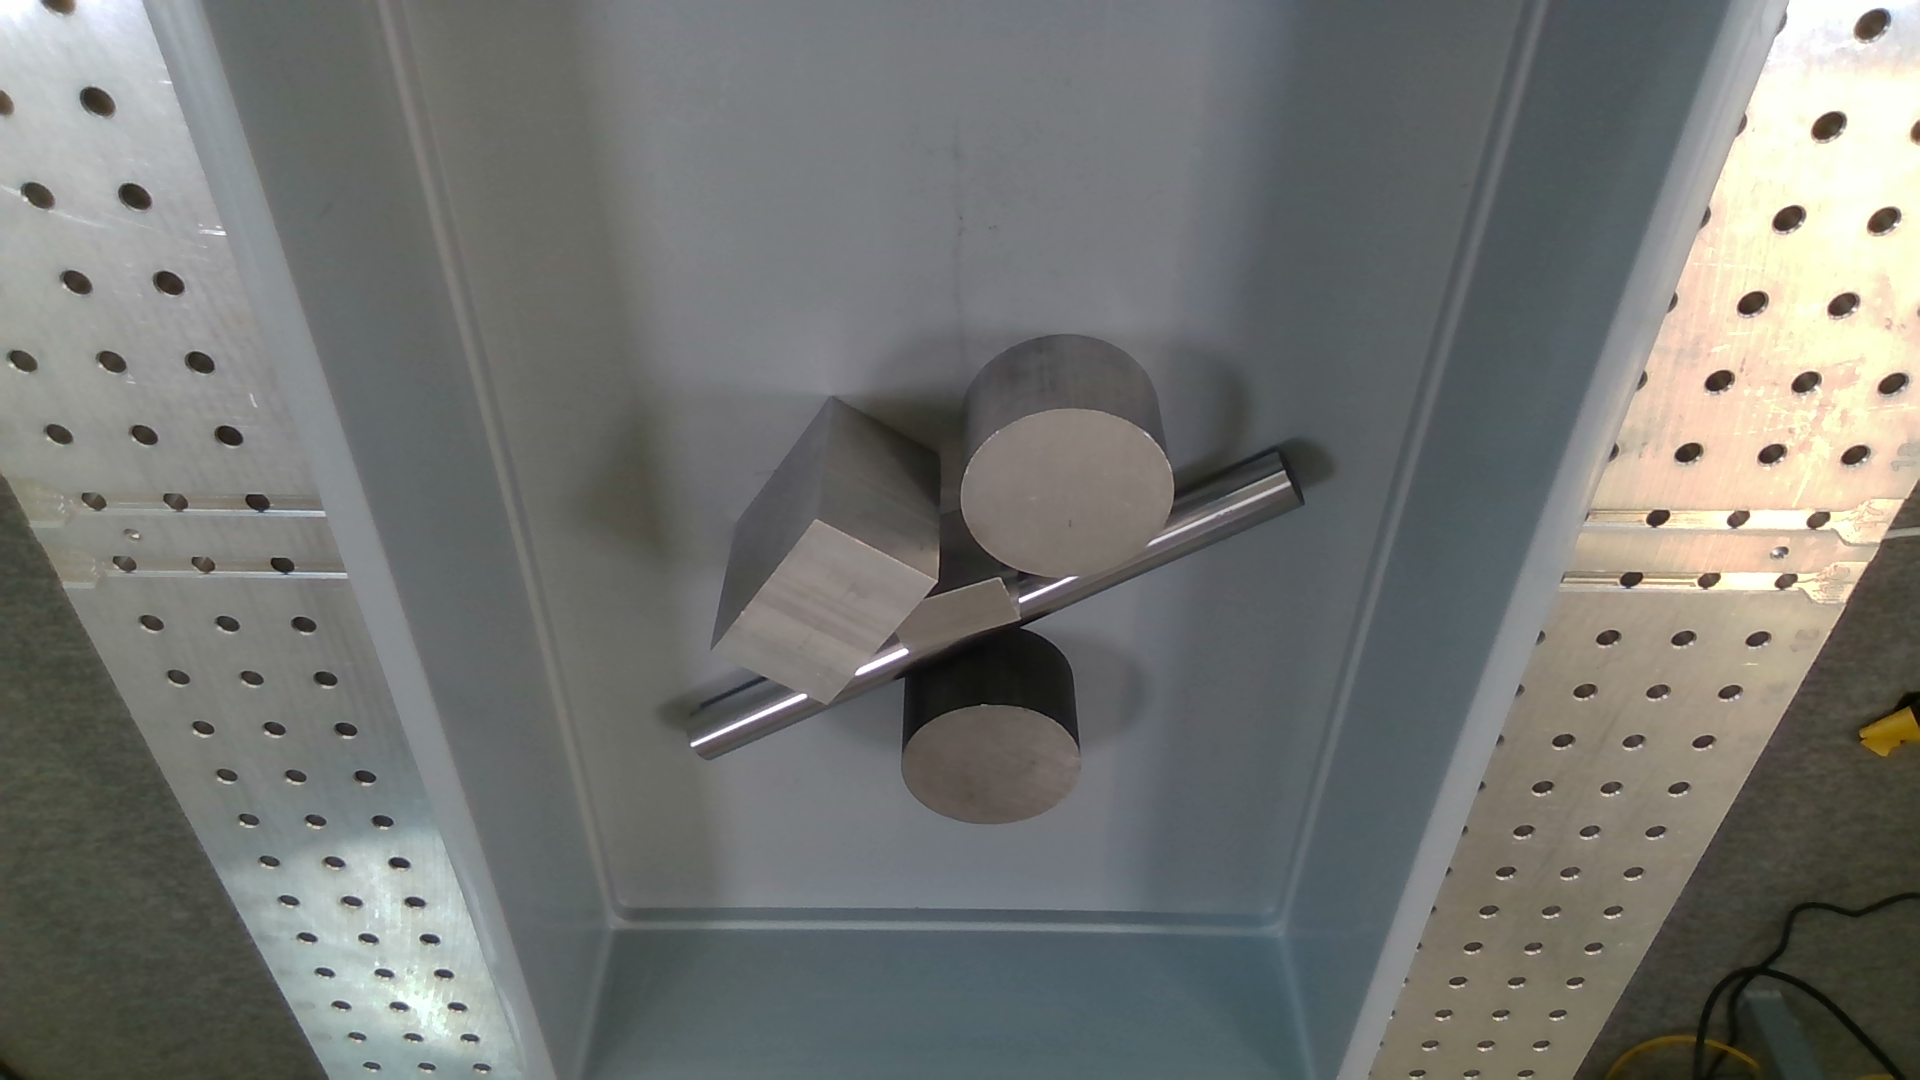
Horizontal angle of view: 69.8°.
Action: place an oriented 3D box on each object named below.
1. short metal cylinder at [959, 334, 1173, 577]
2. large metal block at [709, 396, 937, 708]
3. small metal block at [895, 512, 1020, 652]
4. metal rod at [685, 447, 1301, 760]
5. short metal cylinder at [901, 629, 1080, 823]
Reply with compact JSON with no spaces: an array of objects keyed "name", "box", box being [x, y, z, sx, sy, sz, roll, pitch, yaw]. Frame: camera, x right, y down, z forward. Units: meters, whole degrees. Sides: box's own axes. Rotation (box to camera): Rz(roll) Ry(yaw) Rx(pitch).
[{"name":"short metal cylinder","box":[0.040,-0.032,0.535,0.080,0.050,0.080,0,130,0]},{"name":"large metal block","box":[-0.053,0.004,0.545,0.050,0.080,0.080,28,124,-21]},{"name":"small metal block","box":[-0.004,0.014,0.574,0.050,0.050,0.025,-17,128,14]},{"name":"metal rod","box":[0.005,0.033,0.606,0.300,0.025,0.025,-25,126,20]},{"name":"short metal cylinder","box":[0.014,0.085,0.634,0.080,0.050,0.080,0,130,0]}]
